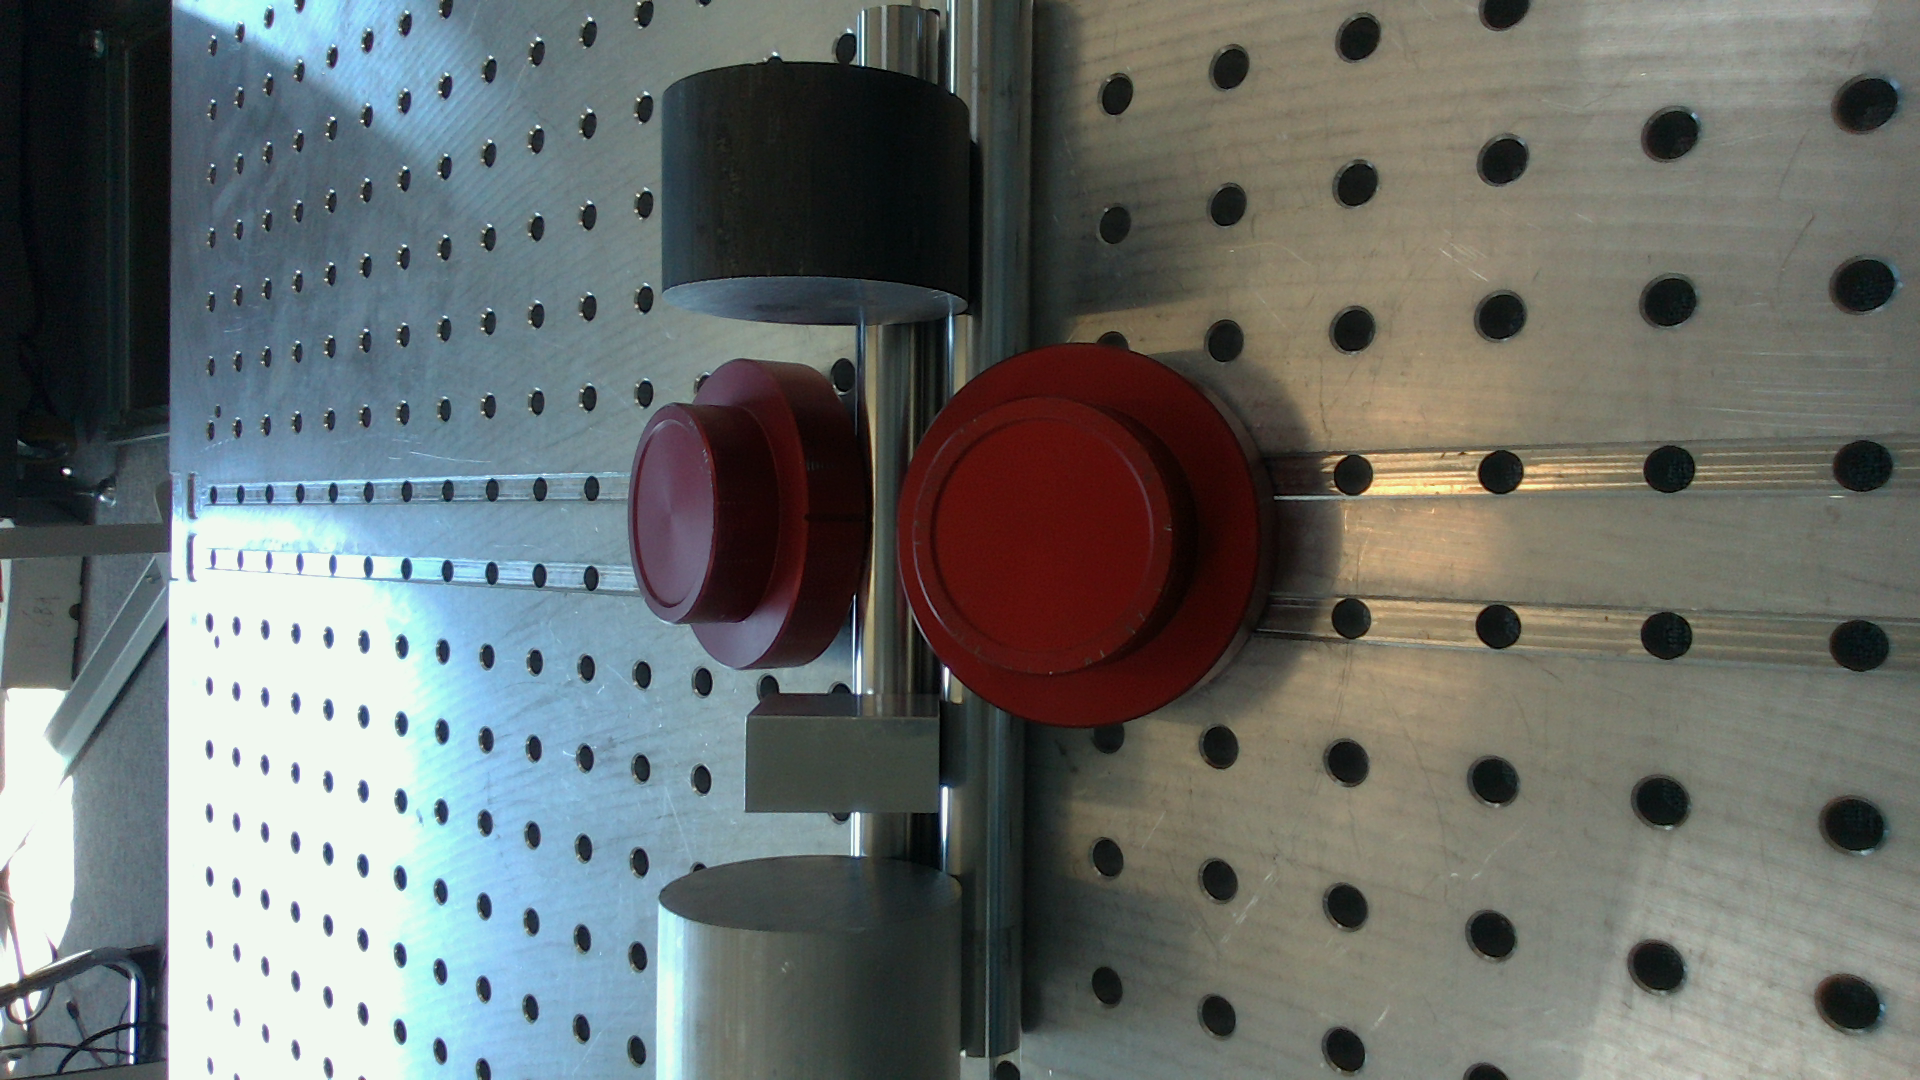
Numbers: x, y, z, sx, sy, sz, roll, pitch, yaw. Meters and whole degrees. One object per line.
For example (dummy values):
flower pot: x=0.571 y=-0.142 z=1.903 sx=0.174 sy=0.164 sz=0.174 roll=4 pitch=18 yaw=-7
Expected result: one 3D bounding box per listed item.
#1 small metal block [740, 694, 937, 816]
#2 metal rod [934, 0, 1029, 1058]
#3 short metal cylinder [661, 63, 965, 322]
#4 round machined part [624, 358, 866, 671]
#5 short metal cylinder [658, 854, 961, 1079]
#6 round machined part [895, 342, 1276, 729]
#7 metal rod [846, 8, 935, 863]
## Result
small metal block: x=-0.032 y=0.058 z=0.378 sx=0.050 sy=0.050 sz=0.025 roll=1 pitch=90 yaw=-1
metal rod: x=0.006 y=-0.007 z=0.392 sx=0.025 sy=0.025 sz=0.300 roll=1 pitch=91 yaw=40
short metal cylinder: x=-0.038 y=-0.088 z=0.365 sx=0.080 sy=0.080 sz=0.050 roll=1 pitch=91 yaw=40
round machined part: x=-0.073 y=-0.008 z=0.432 sx=0.098 sy=0.042 sz=0.098 roll=0 pitch=90 yaw=54
short metal cylinder: x=-0.040 y=0.118 z=0.367 sx=0.080 sy=0.080 sz=0.050 roll=1 pitch=91 yaw=40
round machined part: x=0.026 y=-0.001 z=0.347 sx=0.098 sy=0.042 sz=0.098 roll=0 pitch=90 yaw=25
metal rod: x=-0.021 y=-0.005 z=0.414 sx=0.025 sy=0.025 sz=0.300 roll=1 pitch=91 yaw=40
